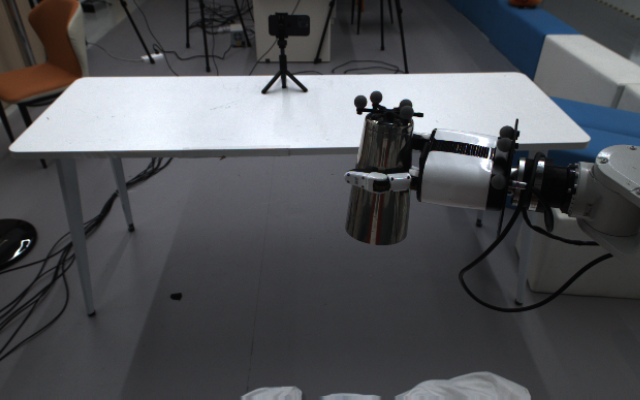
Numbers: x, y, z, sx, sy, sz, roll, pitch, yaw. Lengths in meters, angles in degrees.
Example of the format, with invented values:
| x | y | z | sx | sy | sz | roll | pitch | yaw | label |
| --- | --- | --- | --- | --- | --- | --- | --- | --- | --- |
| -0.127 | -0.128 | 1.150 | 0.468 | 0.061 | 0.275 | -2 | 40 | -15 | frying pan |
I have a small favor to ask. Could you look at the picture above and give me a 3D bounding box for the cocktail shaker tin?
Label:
| x | y | z | sx | sy | sz | roll | pitch | yaw | label |
| --- | --- | --- | --- | --- | --- | --- | --- | --- | --- |
| 0.089 | -0.034 | 0.683 | 0.093 | 0.170 | 0.093 | 2 | 26 | -1 | cocktail shaker tin |
